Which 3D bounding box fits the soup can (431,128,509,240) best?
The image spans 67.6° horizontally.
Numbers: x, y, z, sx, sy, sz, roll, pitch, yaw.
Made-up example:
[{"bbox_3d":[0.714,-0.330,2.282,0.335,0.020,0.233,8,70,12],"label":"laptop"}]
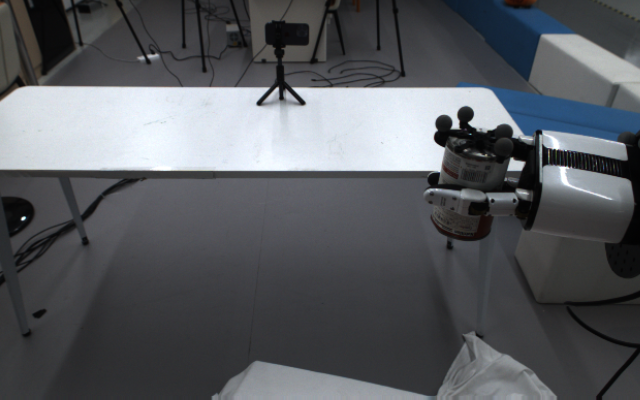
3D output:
[{"bbox_3d":[0.164,-0.017,0.530,0.067,0.101,0.067,2,32,-1],"label":"soup can"}]
